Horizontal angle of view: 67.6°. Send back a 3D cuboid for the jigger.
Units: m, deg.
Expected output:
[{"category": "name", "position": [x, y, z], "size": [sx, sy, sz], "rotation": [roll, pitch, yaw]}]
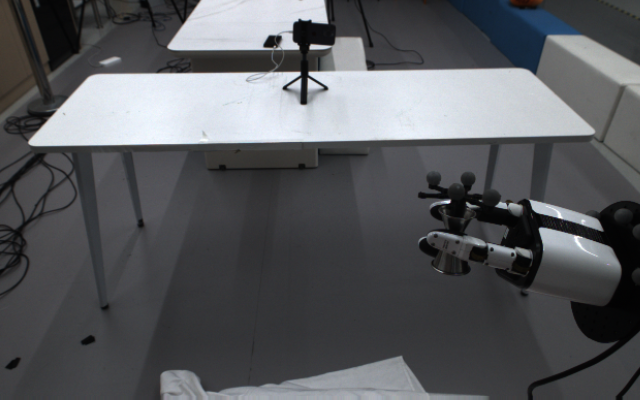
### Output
[{"category": "jigger", "position": [0.150, 0.042, 0.545], "size": [0.043, 0.071, 0.043], "rotation": [0, 20, 0]}]
